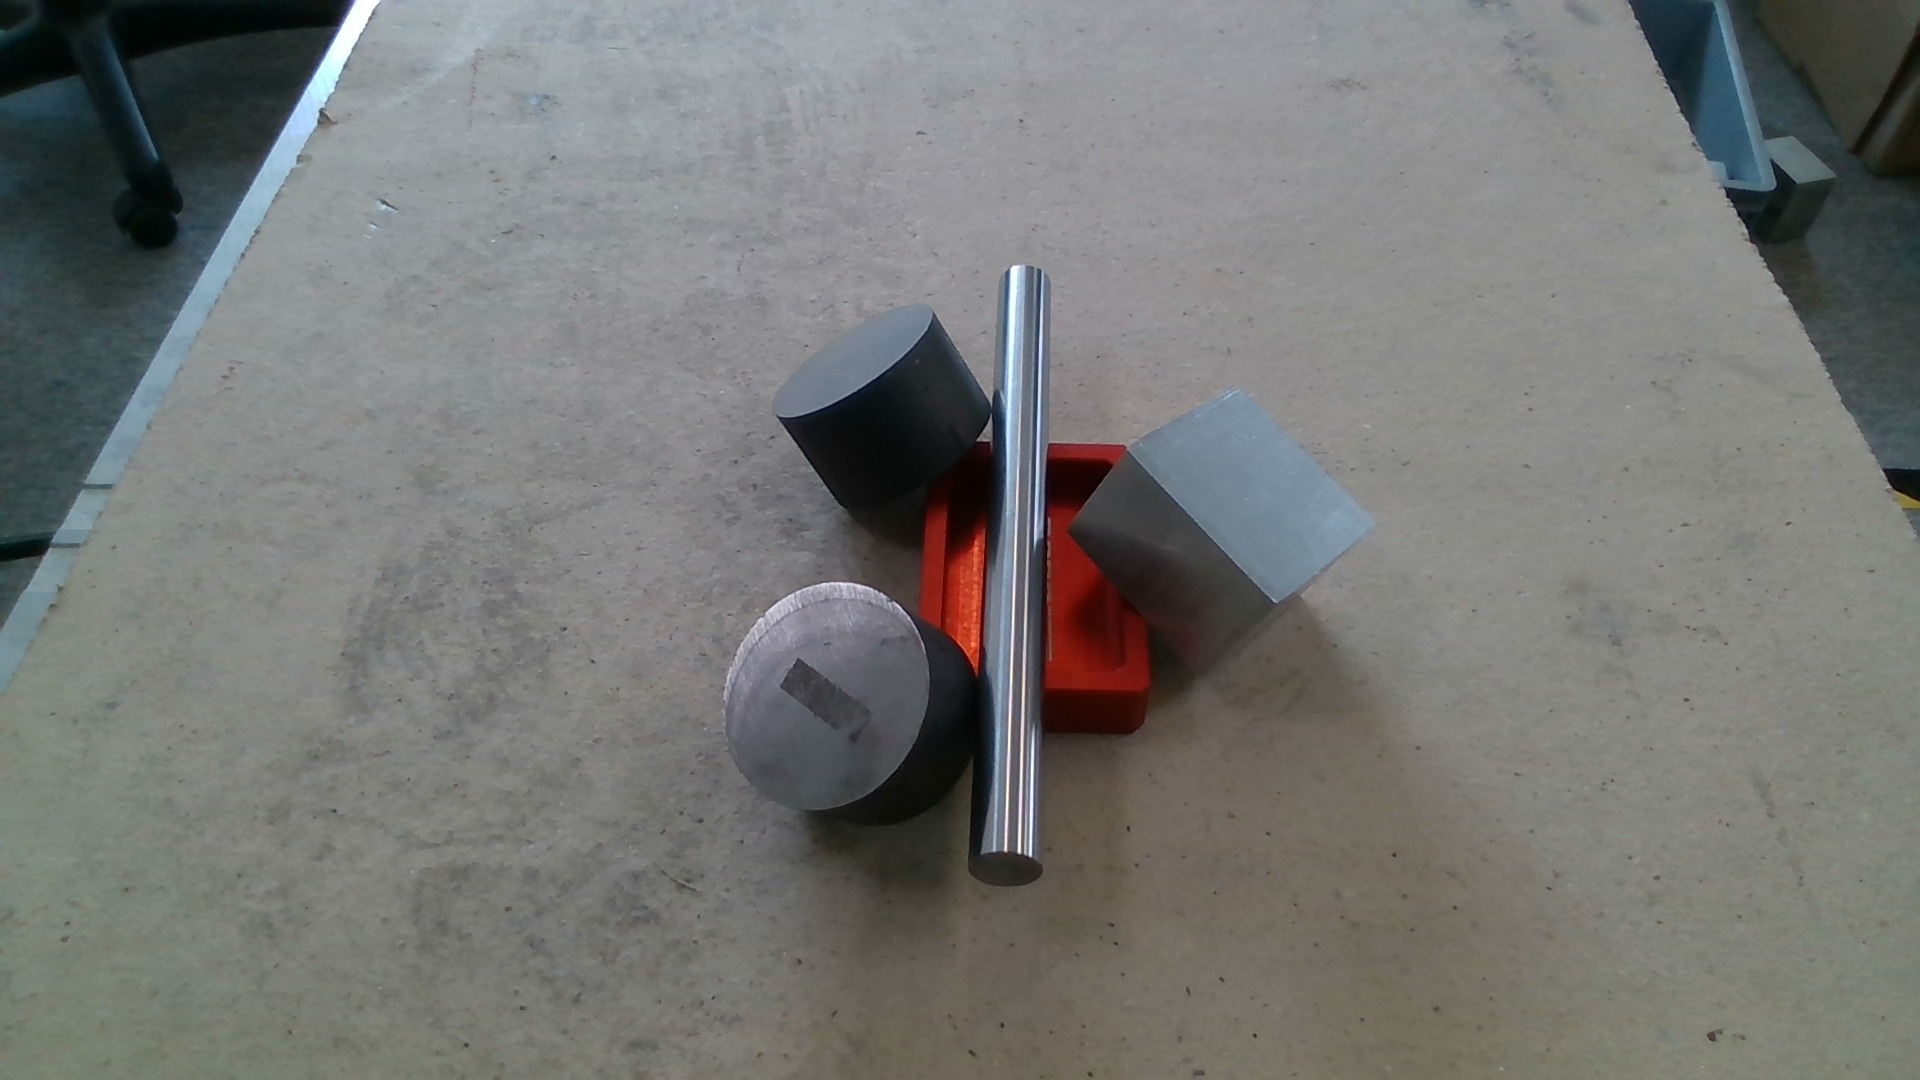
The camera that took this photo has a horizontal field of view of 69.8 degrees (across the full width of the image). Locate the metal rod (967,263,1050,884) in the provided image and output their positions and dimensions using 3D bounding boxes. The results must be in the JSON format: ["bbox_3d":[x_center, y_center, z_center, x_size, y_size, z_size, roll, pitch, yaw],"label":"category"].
[{"bbox_3d":[0.023,-0.006,0.553,0.025,0.025,0.299,2,50,2],"label":"metal rod"}]

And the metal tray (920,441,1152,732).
[{"bbox_3d":[0.030,0.016,0.572,0.090,0.030,0.130,1,50,1],"label":"metal tray"}]

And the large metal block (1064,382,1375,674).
[{"bbox_3d":[0.103,-0.007,0.549,0.080,0.050,0.080,48,47,14],"label":"large metal block"}]

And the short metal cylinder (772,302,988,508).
[{"bbox_3d":[-0.034,-0.059,0.597,0.080,0.050,0.080,-26,27,14],"label":"short metal cylinder"}]

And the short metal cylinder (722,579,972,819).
[{"bbox_3d":[-0.039,0.060,0.500,0.080,0.050,0.080,-7,70,20],"label":"short metal cylinder"}]
